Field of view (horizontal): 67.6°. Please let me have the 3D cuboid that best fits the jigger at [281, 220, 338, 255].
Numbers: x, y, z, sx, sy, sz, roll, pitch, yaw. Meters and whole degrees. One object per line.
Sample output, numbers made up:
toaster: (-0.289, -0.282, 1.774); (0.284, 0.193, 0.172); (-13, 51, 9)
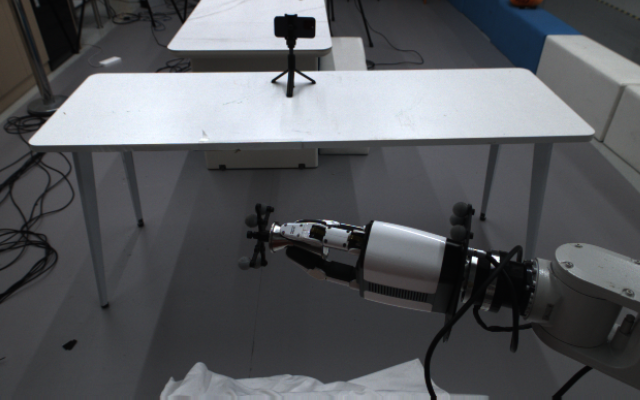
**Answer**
jigger: (-0.018, 0.045, 0.596); (0.071, 0.043, 0.043); (4, 34, 13)
